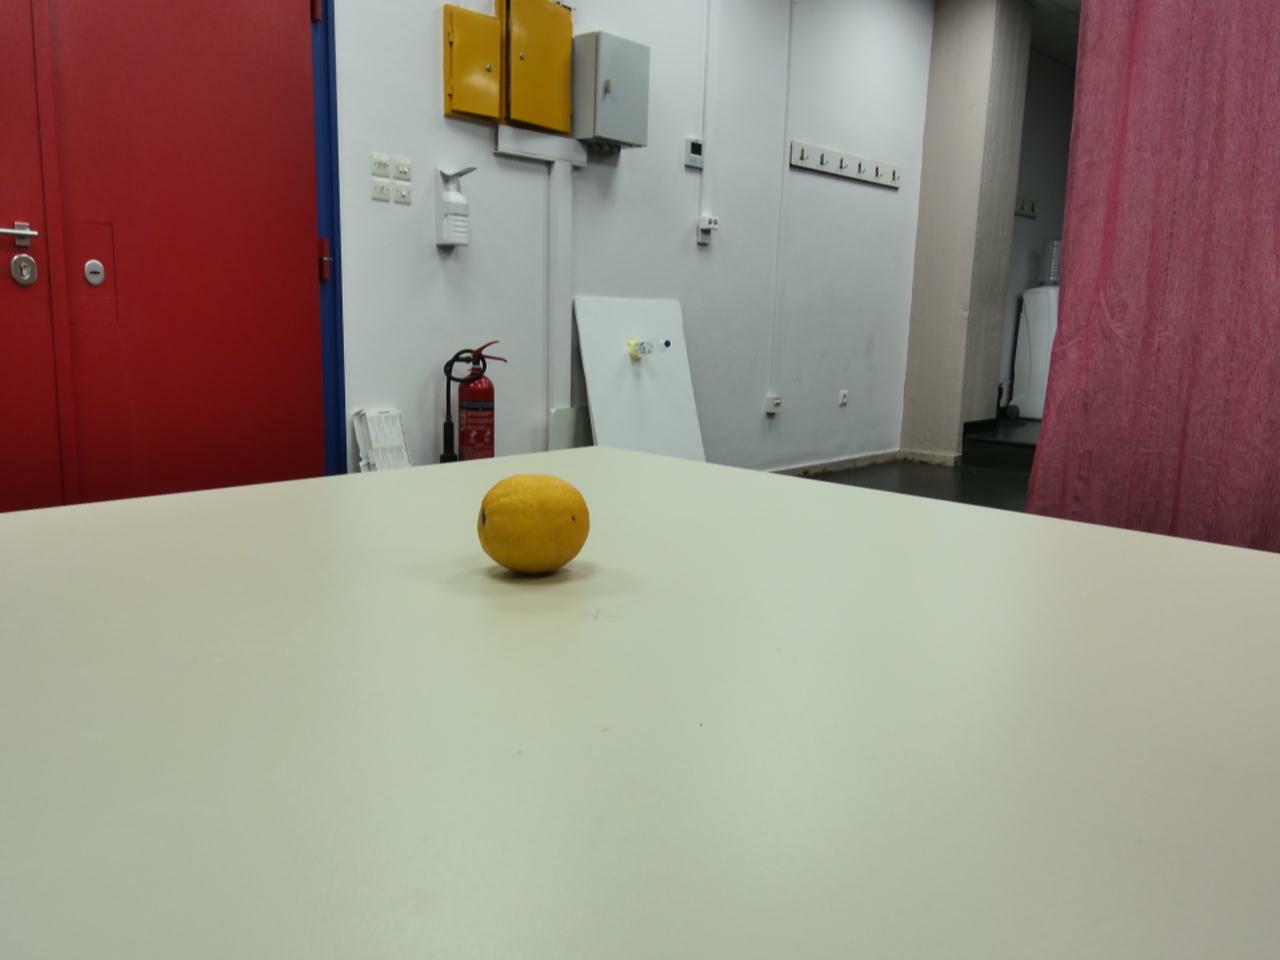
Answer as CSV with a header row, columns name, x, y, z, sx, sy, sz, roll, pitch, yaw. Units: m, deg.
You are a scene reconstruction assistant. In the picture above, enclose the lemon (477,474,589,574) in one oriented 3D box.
name,x,y,z,sx,sy,sz,roll,pitch,yaw
lemon,-0.064,0.026,0.601,0.067,0.059,0.061,0,8,-5
